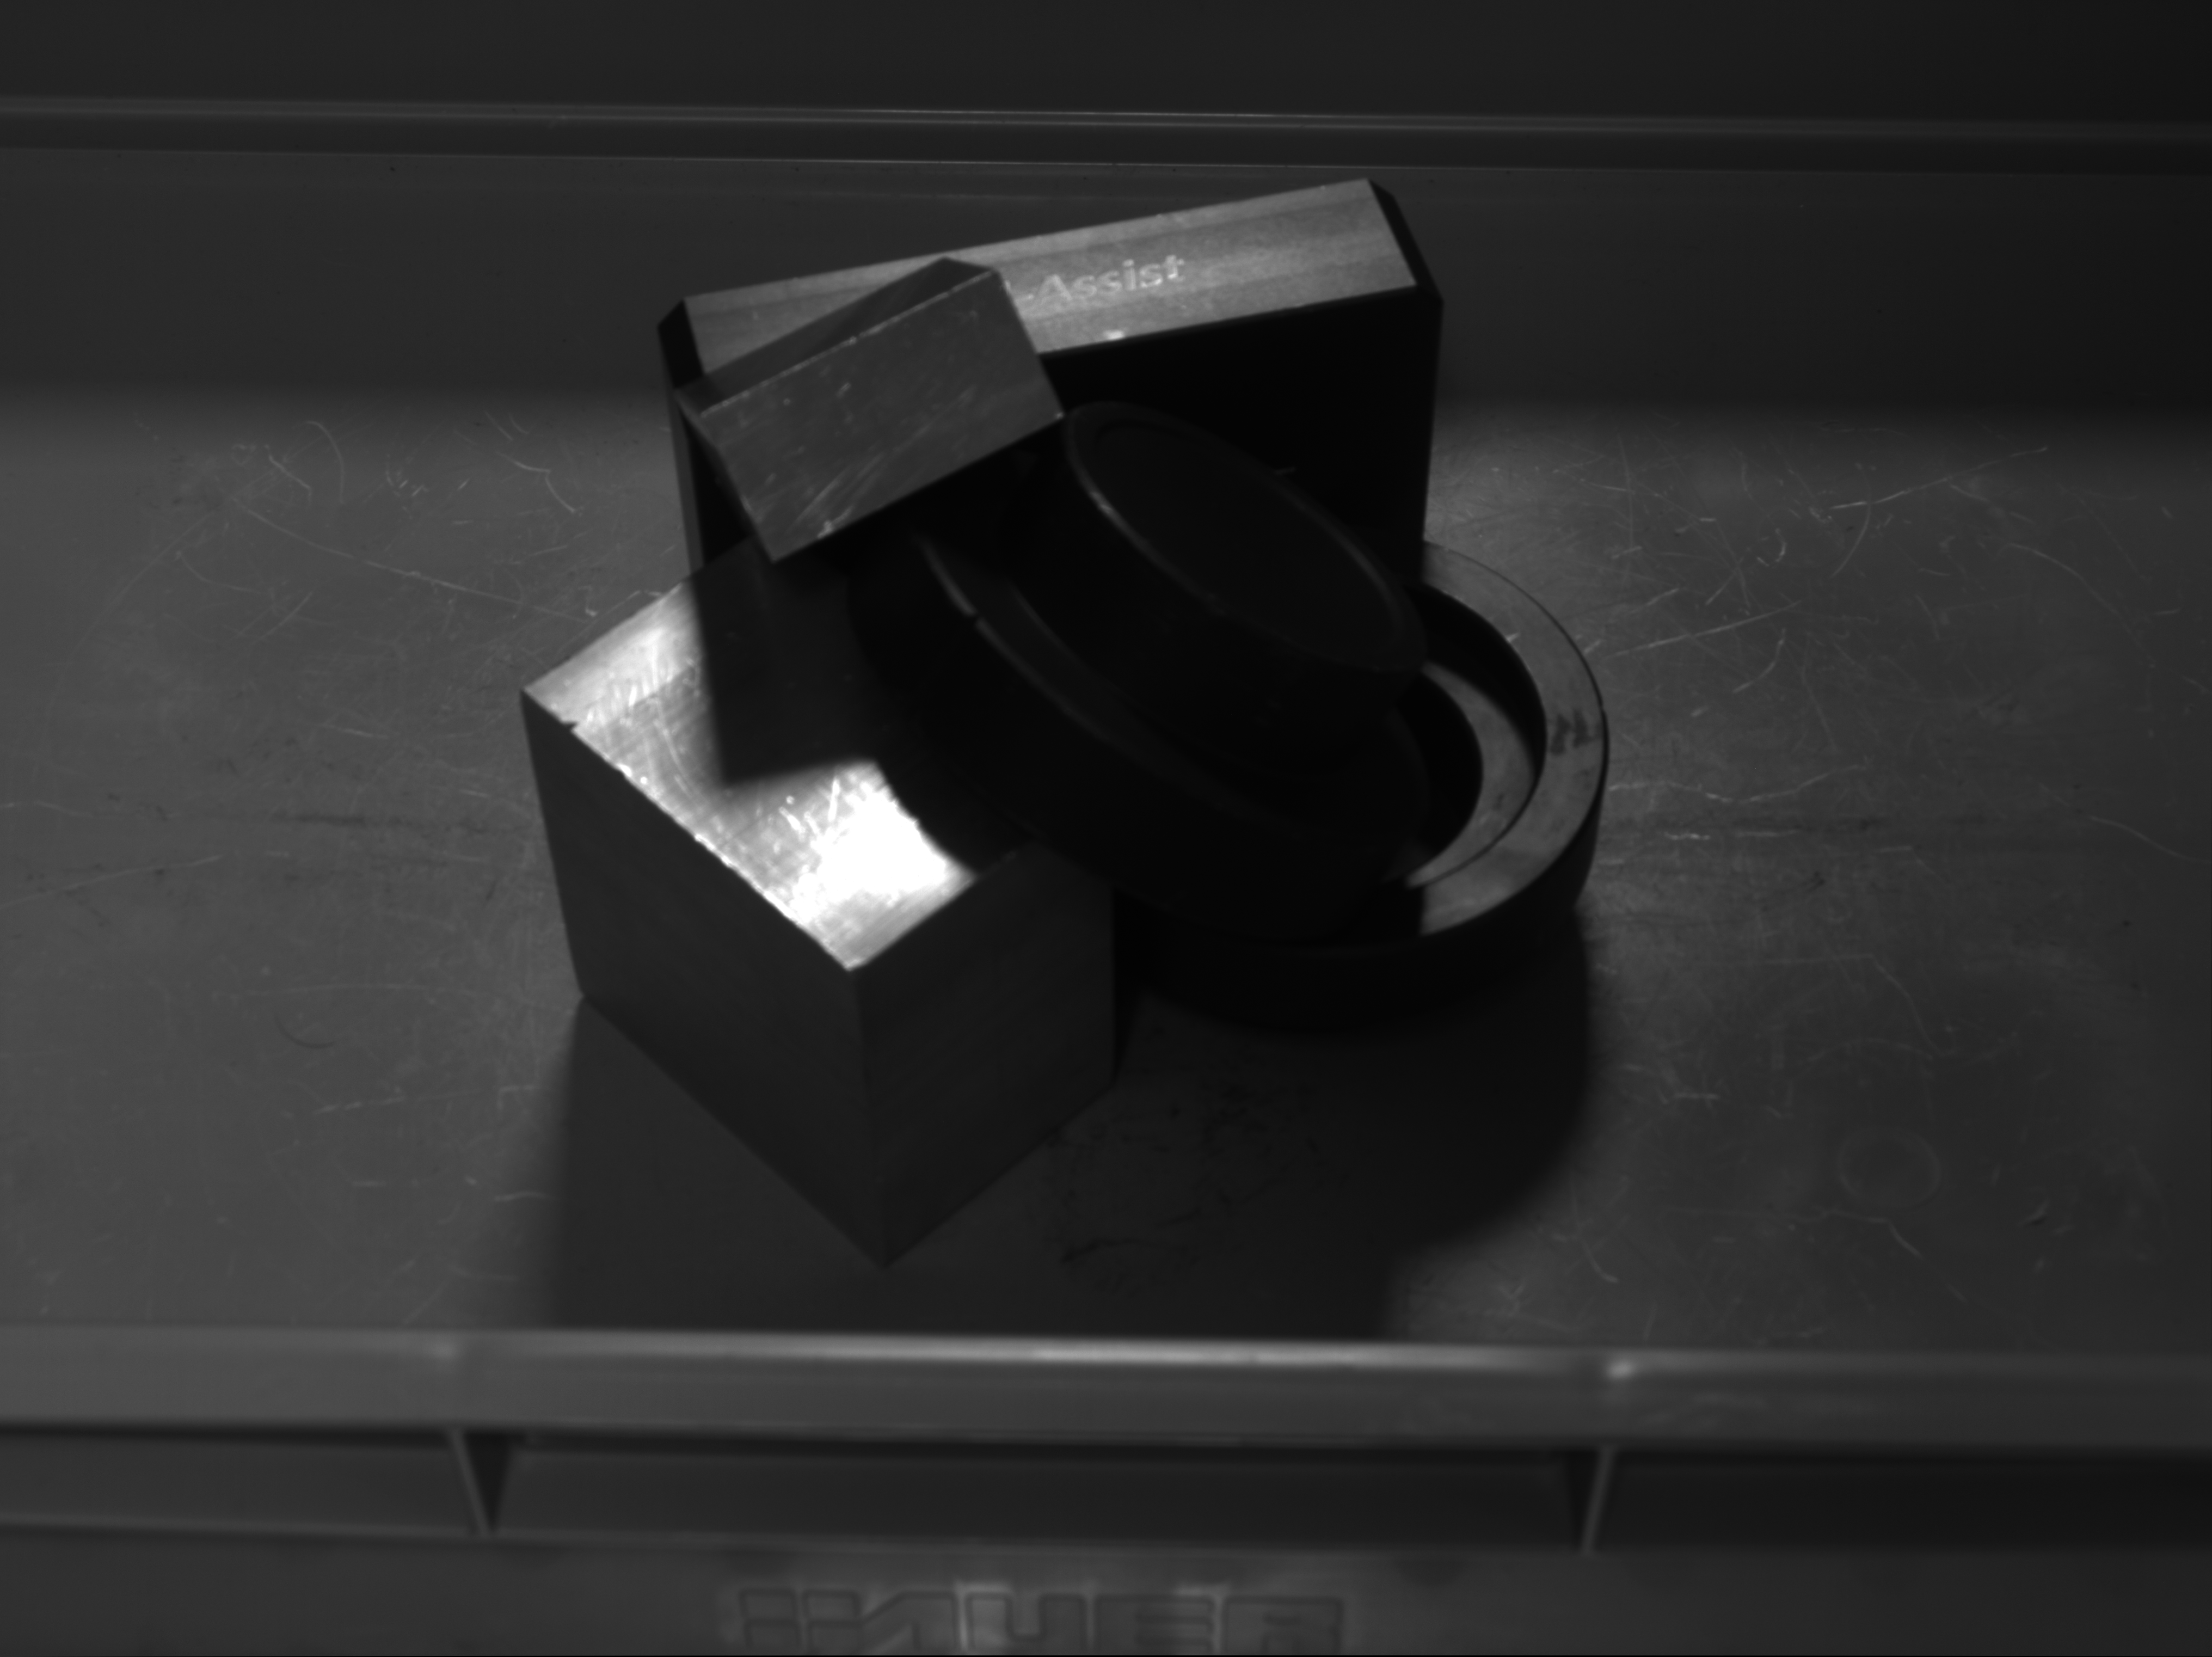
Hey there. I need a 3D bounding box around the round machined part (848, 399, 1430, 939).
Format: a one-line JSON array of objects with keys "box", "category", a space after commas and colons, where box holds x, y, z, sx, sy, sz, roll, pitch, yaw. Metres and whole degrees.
[{"box": [0.012, -0.031, 0.580, 0.098, 0.042, 0.098, 30, 24, -15], "category": "round machined part"}]

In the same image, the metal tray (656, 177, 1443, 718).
[{"box": [-0.009, -0.062, 0.650, 0.130, 0.090, 0.030, -12, 51, -10], "category": "metal tray"}]

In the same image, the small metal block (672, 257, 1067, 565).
[{"box": [-0.038, -0.067, 0.576, 0.050, 0.025, 0.050, -27, 15, -5], "category": "small metal block"}]

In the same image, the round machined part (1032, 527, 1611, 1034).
[{"box": [0.036, -0.004, 0.634, 0.098, 0.042, 0.098, 0, 50, 0], "category": "round machined part"}]

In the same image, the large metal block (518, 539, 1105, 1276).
[{"box": [-0.046, 0.012, 0.595, 0.050, 0.080, 0.080, -36, 59, -26], "category": "large metal block"}]
